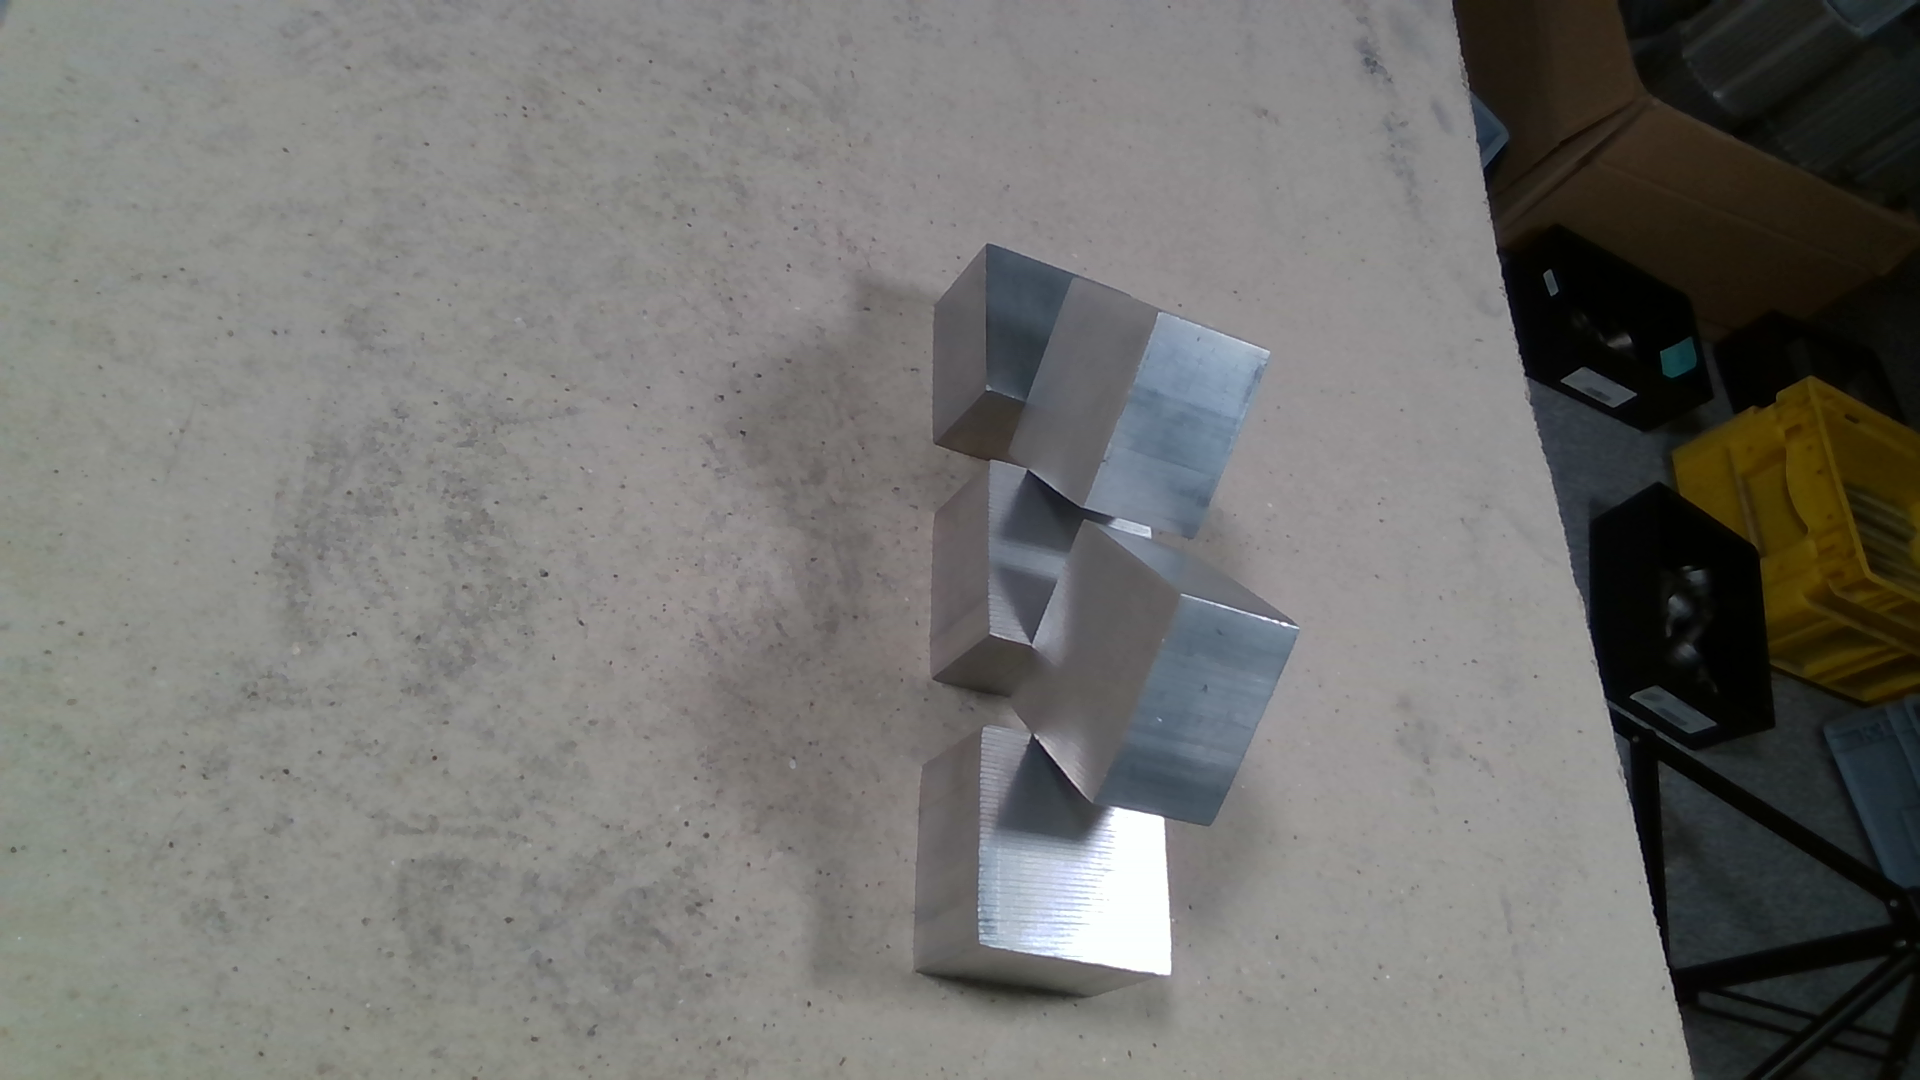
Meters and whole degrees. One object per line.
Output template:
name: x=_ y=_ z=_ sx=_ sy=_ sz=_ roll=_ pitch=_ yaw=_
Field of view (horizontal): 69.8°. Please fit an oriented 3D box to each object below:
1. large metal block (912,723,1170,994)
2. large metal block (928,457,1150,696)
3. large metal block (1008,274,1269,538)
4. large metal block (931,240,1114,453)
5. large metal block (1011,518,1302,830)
large metal block: x=0.030 y=0.123 z=0.523 sx=0.080 sy=0.050 sz=0.080 roll=16 pitch=58 yaw=-24
large metal block: x=0.034 y=0.021 z=0.580 sx=0.080 sy=0.050 sz=0.080 roll=15 pitch=58 yaw=-24
large metal block: x=0.069 y=-0.056 z=0.559 sx=0.050 sy=0.080 sz=0.080 roll=14 pitch=104 yaw=-25
large metal block: x=0.034 y=-0.080 z=0.635 sx=0.080 sy=0.050 sz=0.080 roll=15 pitch=58 yaw=-25
large metal block: x=0.068 y=0.047 z=0.505 sx=0.050 sy=0.080 sz=0.080 roll=16 pitch=13 yaw=-25
